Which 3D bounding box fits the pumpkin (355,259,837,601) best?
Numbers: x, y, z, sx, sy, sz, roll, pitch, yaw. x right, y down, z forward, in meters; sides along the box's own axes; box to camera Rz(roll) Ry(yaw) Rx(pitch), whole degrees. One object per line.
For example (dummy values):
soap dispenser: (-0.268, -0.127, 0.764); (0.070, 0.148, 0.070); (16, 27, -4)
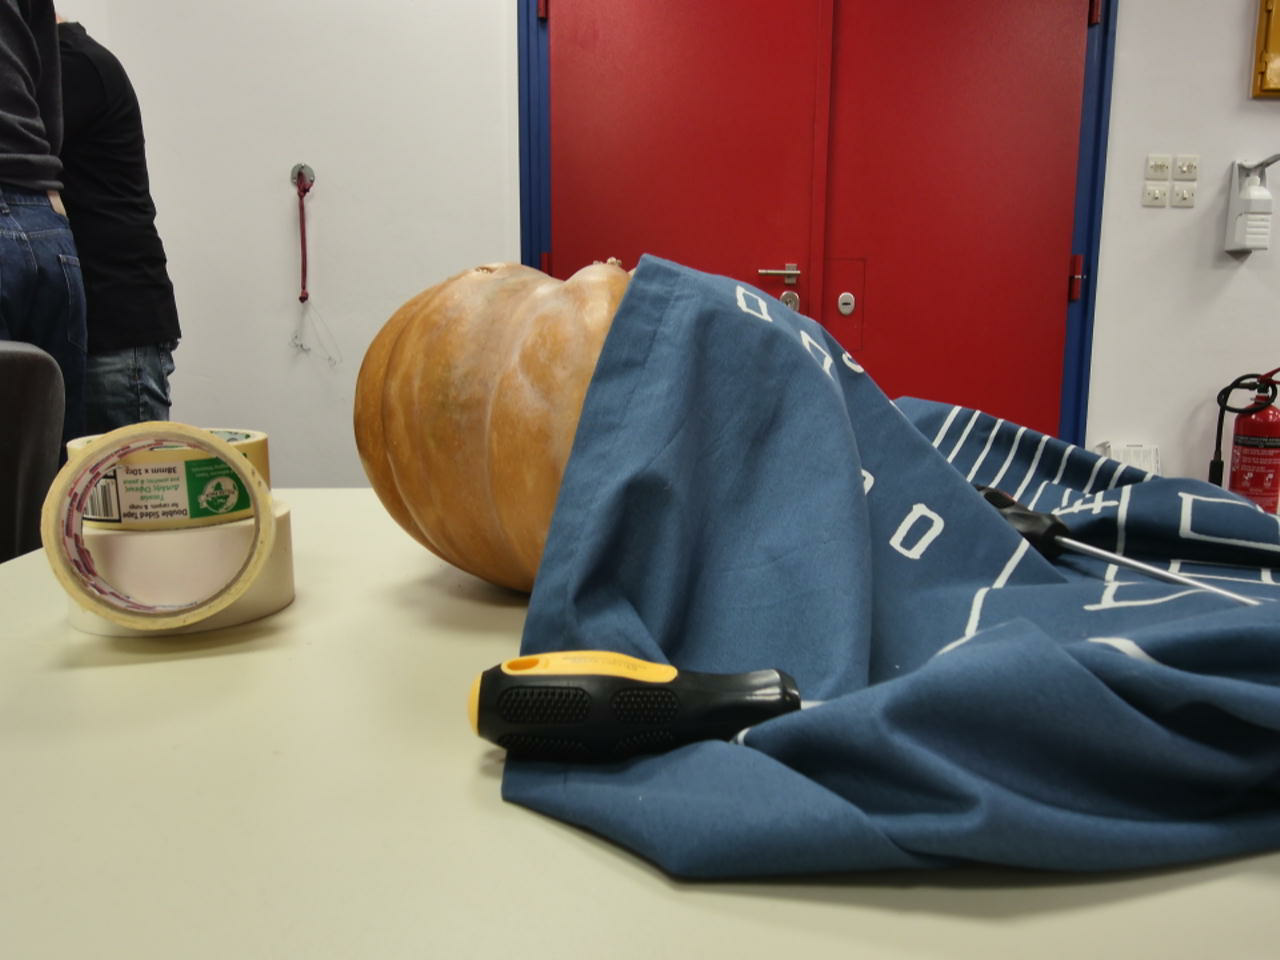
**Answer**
pumpkin: (-0.021, -0.032, 0.562); (0.277, 0.181, 0.277); (0, 7, 0)
